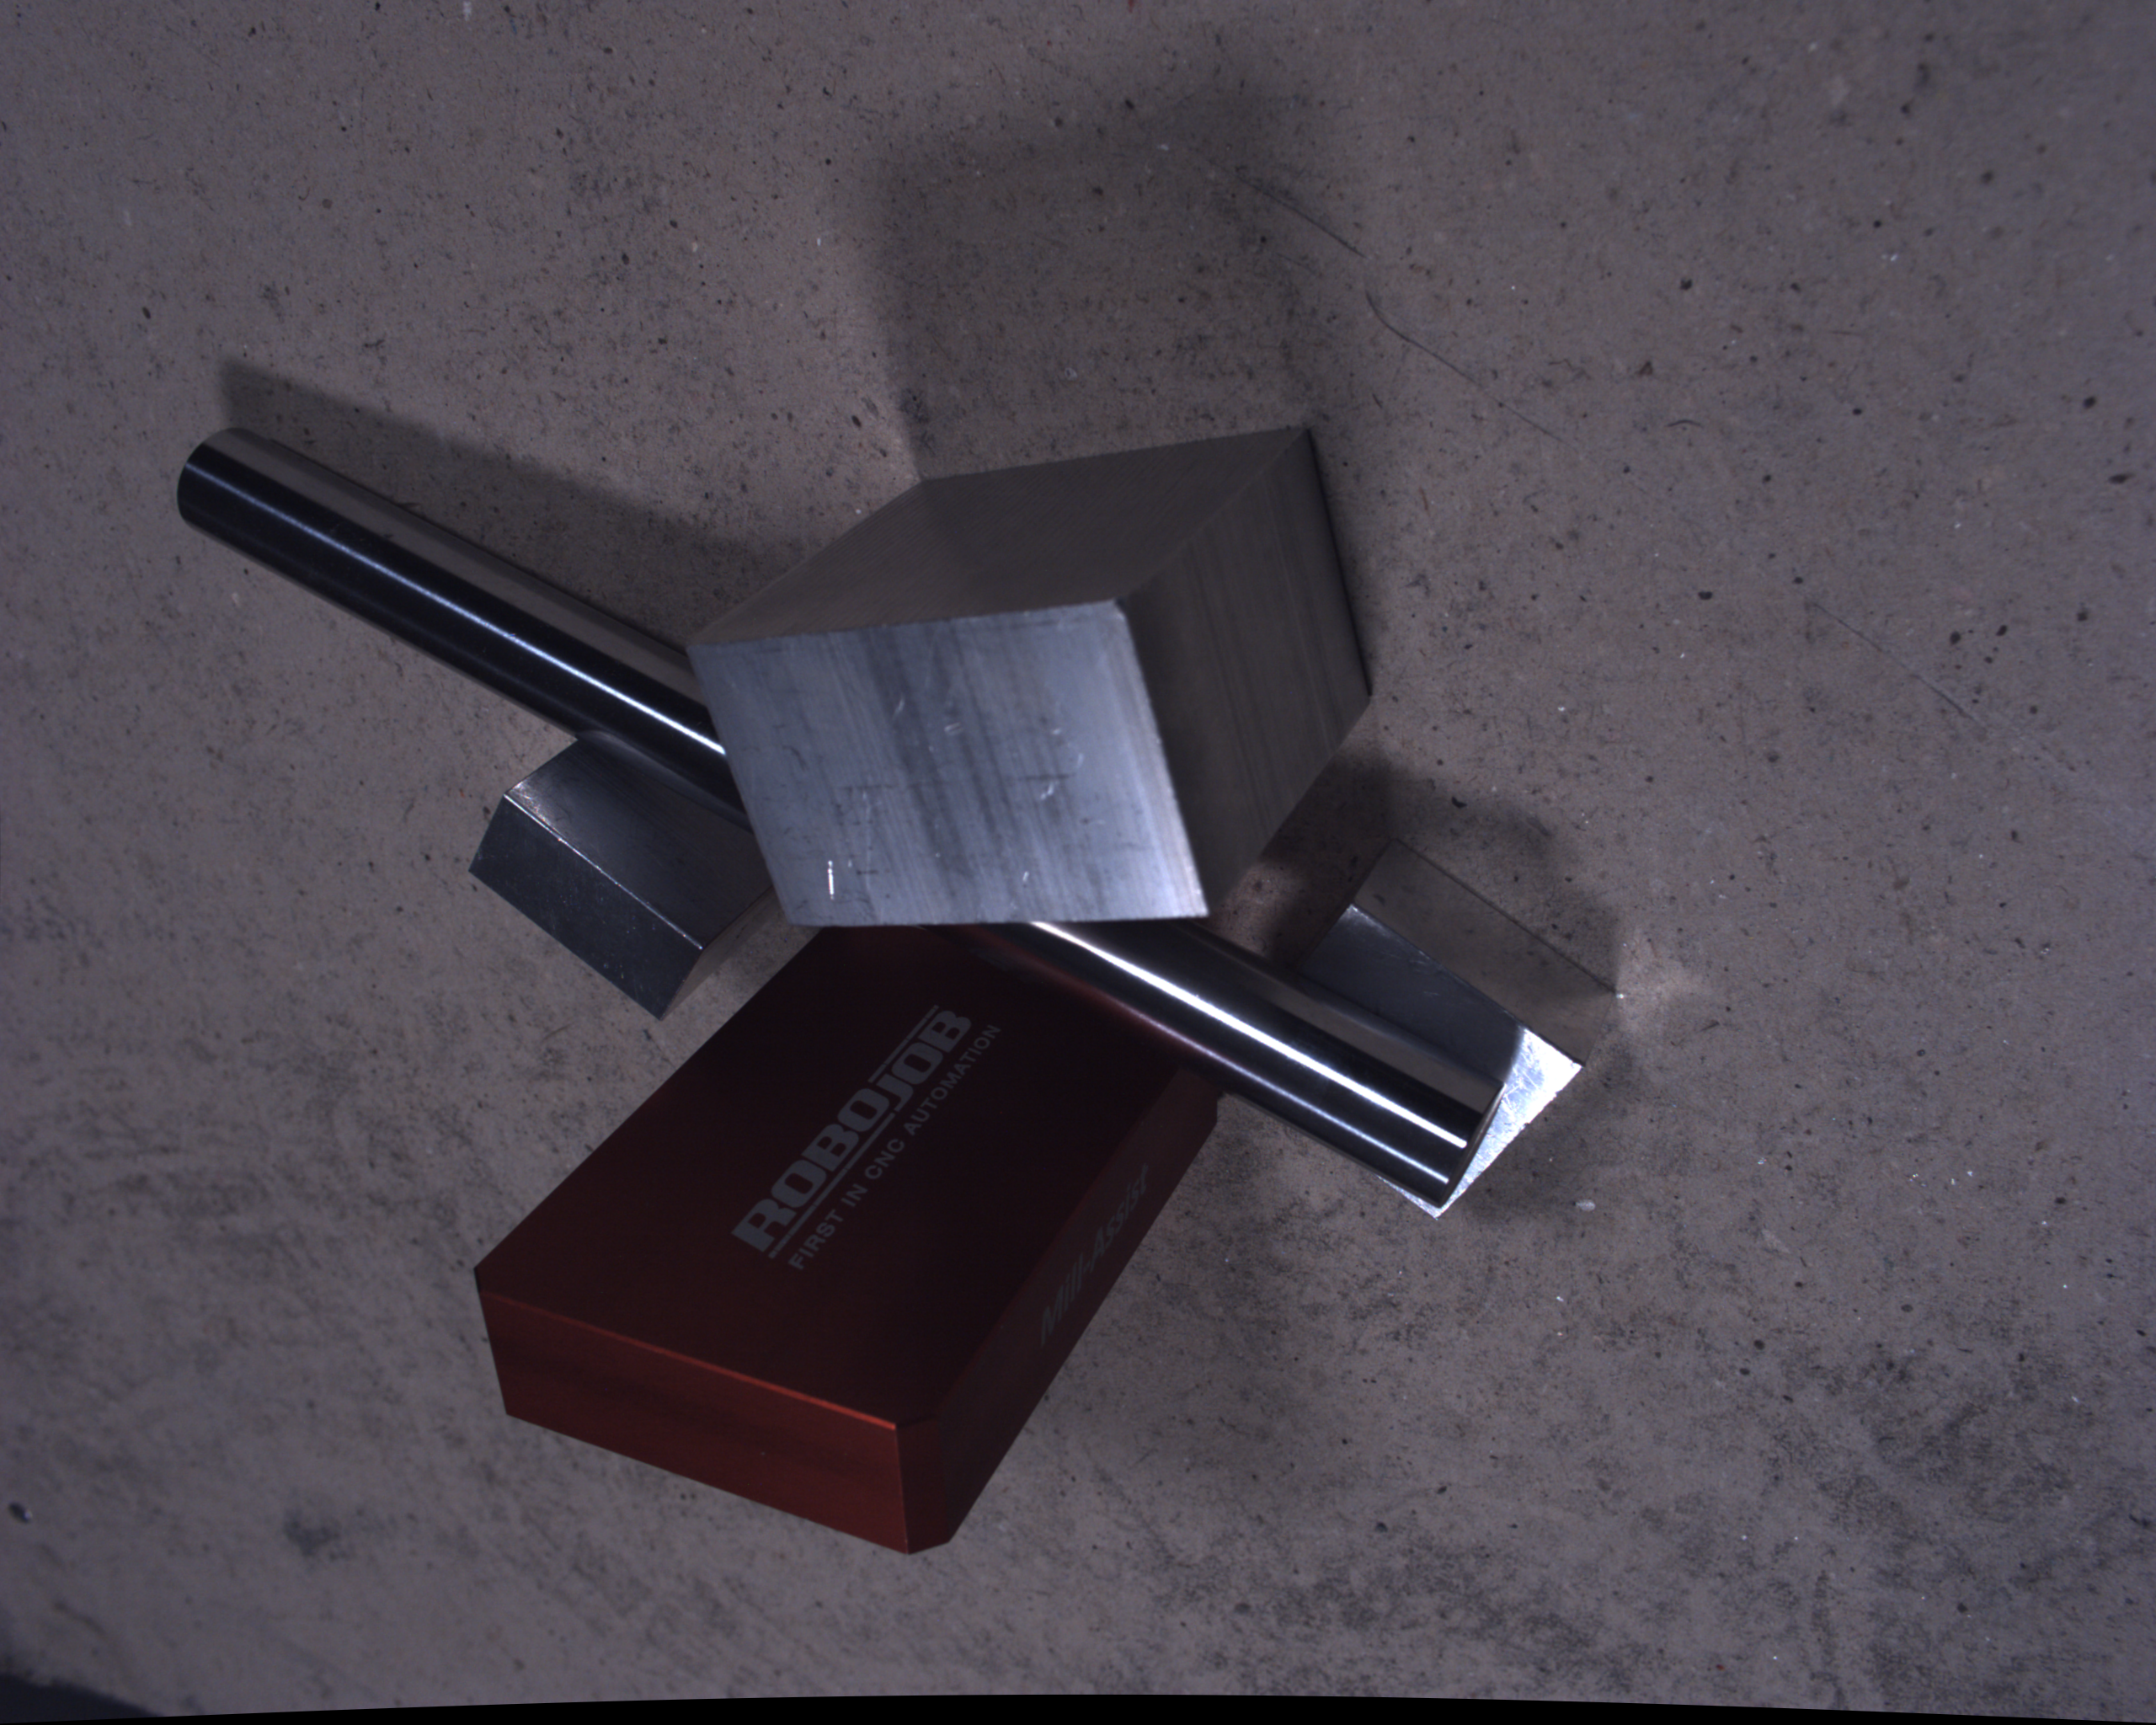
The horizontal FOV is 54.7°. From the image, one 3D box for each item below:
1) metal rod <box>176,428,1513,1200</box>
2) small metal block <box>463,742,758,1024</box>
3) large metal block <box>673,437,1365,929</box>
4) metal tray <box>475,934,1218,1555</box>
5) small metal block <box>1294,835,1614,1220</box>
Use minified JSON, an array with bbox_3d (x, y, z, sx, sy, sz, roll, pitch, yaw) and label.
[{"bbox_3d":[-0.058,-0.017,0.409,0.301,0.025,0.025,27,128,17],"label":"metal rod"},{"bbox_3d":[-0.089,-0.002,0.435,0.050,0.050,0.025,38,129,2],"label":"small metal block"},{"bbox_3d":[-0.006,-0.031,0.354,0.080,0.080,0.050,-2,118,29],"label":"large metal block"},{"bbox_3d":[-0.037,0.062,0.397,0.090,0.131,0.030,12,123,21],"label":"metal tray"},{"bbox_3d":[0.063,0.031,0.394,0.050,0.025,0.050,36,129,4],"label":"small metal block"}]
